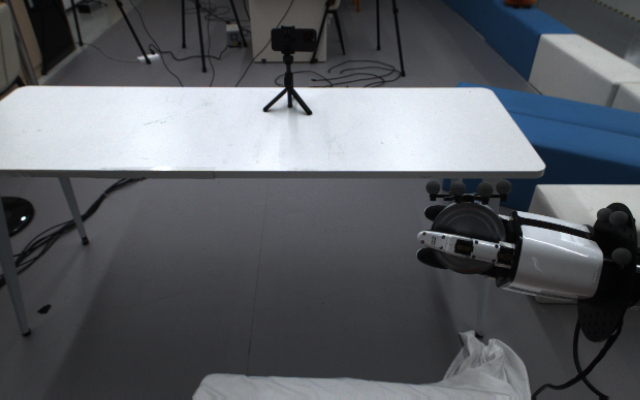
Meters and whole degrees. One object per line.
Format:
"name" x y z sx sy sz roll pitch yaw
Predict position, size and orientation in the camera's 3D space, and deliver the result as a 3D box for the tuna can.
"tuna can" 0.178 0.041 0.580 0.085 0.085 0.034 15 10 18
